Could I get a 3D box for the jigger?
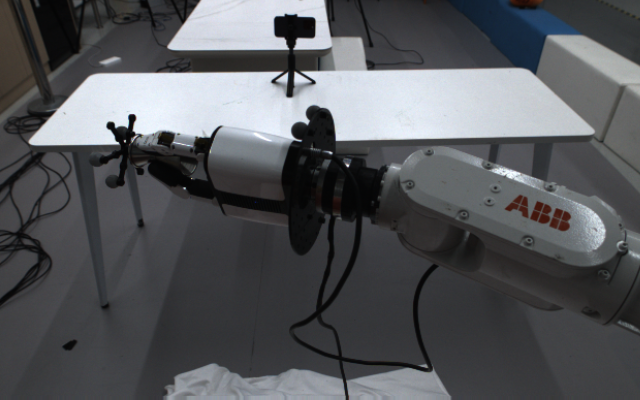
[{"bbox_3d":[-0.178,-0.058,0.568,0.071,0.043,0.043,7,35,14],"label":"jigger"}]
